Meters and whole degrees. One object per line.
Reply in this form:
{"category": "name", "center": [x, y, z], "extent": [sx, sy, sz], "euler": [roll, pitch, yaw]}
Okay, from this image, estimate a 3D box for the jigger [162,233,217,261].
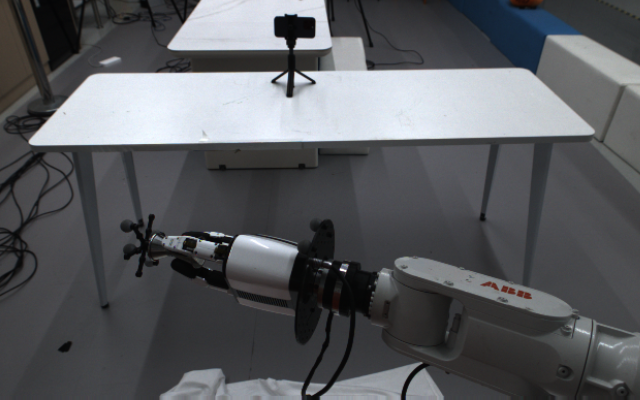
{"category": "jigger", "center": [-0.187, 0.064, 0.666], "extent": [0.071, 0.043, 0.043], "euler": [5, 34, 14]}
